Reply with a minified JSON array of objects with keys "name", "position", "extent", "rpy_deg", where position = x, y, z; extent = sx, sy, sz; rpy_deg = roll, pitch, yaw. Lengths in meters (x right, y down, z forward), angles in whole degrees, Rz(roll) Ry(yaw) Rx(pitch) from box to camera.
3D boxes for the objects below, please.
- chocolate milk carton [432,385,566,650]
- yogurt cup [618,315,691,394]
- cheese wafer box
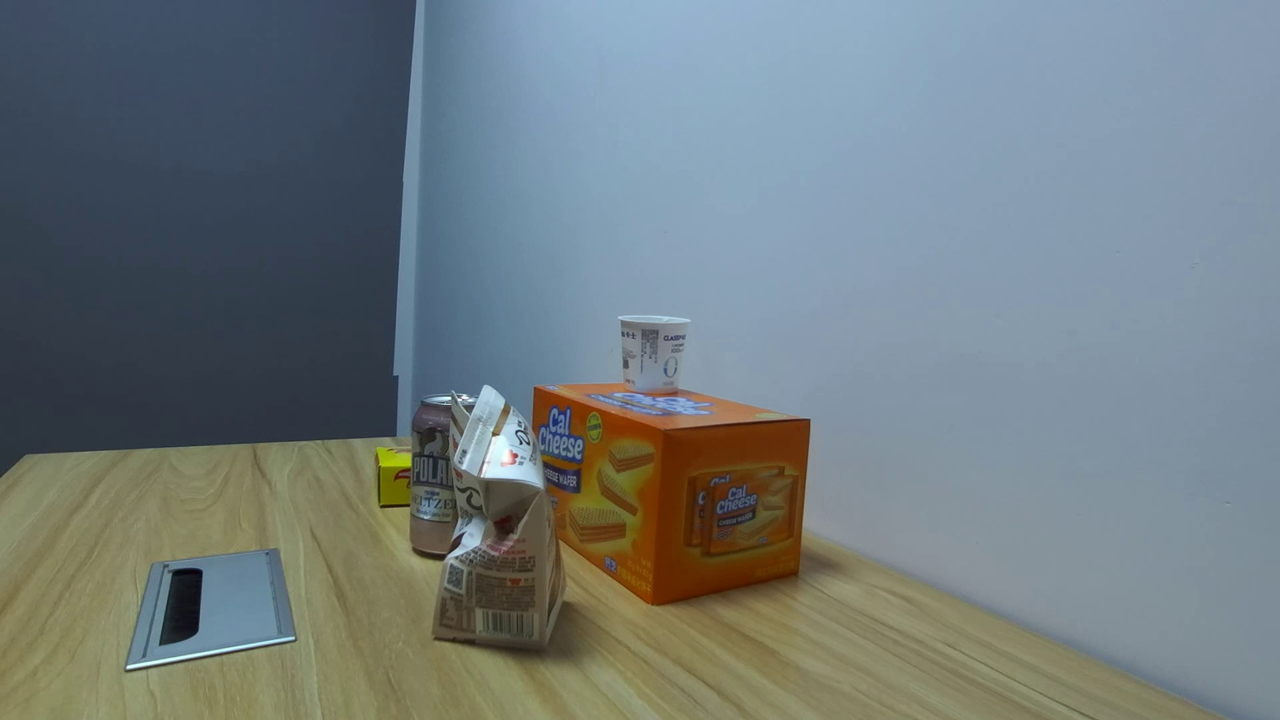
[{"name":"chocolate milk carton","position":[-0.090,0.100,0.444],"extent":[0.077,0.155,0.089],"rpy_deg":[0,19,2]},{"name":"yogurt cup","position":[0.013,-0.005,0.678],"extent":[0.072,0.068,0.072],"rpy_deg":[3,8,0]},{"name":"cheese wafer box","position":[0.015,0.098,0.613],"extent":[0.149,0.129,0.221],"rpy_deg":[0,7,-33]}]
